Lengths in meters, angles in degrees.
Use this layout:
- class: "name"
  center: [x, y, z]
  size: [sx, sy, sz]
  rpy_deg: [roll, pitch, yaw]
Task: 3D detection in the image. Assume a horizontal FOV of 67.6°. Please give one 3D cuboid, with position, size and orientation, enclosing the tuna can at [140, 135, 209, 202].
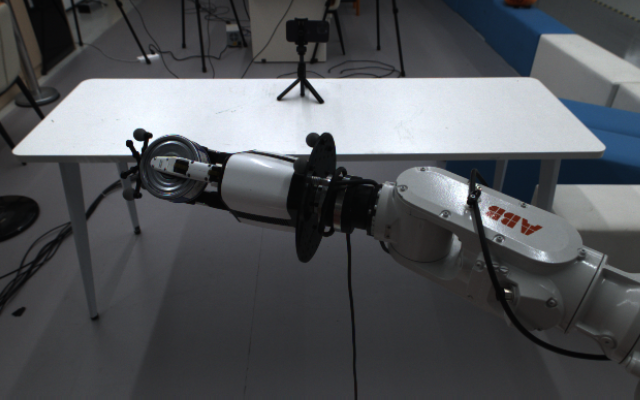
- class: "tuna can"
  center: [-0.184, -0.038, 0.622]
  size: [0.085, 0.085, 0.034]
  rpy_deg: [10, -5, 11]
